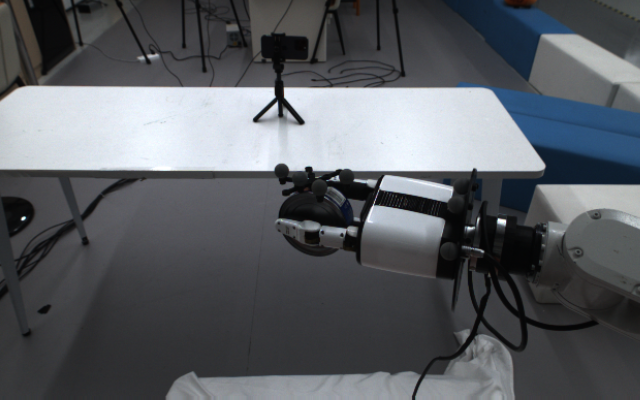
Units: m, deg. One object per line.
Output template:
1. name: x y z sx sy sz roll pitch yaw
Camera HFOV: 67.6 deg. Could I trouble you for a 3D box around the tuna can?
1. tuna can: -0.002 0.020 0.578 0.085 0.085 0.034 14 29 16
